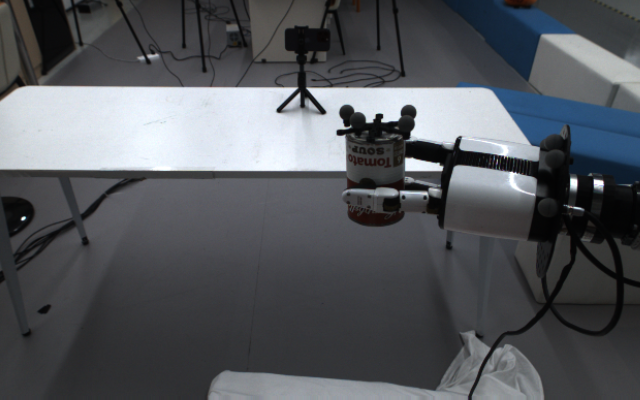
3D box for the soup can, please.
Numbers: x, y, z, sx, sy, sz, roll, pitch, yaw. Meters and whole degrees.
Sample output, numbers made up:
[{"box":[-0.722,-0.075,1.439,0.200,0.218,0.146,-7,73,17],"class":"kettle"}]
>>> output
[{"box":[0.066,-0.031,0.554,0.067,0.101,0.067,-4,27,2],"class":"soup can"}]
